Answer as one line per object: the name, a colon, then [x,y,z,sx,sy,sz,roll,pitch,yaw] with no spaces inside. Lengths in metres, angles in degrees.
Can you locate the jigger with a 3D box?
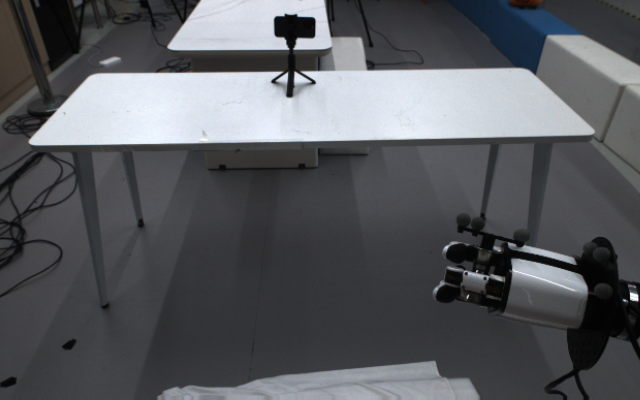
jigger: [0.204,0.094,0.610,0.043,0.071,0.043,14,1,0]
